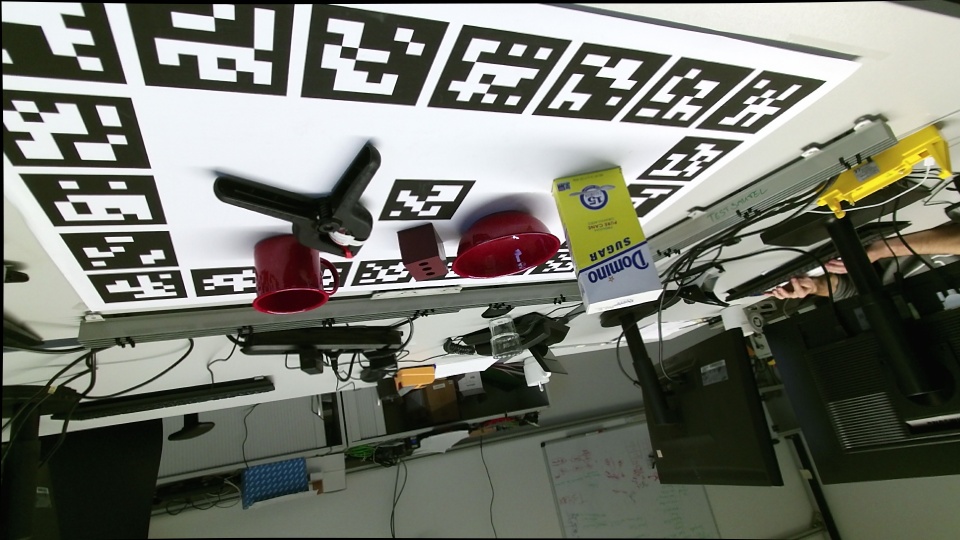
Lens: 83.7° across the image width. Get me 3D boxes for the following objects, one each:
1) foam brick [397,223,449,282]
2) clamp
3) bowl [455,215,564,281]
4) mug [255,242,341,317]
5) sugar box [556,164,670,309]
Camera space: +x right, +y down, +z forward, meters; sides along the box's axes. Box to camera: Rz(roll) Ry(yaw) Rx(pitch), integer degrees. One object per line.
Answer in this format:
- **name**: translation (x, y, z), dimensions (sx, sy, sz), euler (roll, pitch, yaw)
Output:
- **foam brick**: translation (-0.080, -0.022, 0.768), dimensions (0.053, 0.051, 0.078), euler (-16, 156, 1)
- **clamp**: translation (-0.169, -0.058, 0.626), dimensions (0.166, 0.036, 0.203), euler (-15, 156, -4)
- **bowl**: translation (0.038, -0.034, 0.789), dimensions (0.162, 0.055, 0.162), euler (-11, 156, -5)
- **mug**: translation (-0.238, 0.019, 0.711), dimensions (0.093, 0.081, 0.117), euler (-32, 148, 35)
- **sugar box**: translation (0.165, -0.046, 0.686), dimensions (0.093, 0.175, 0.045), euler (-13, 155, 0)
